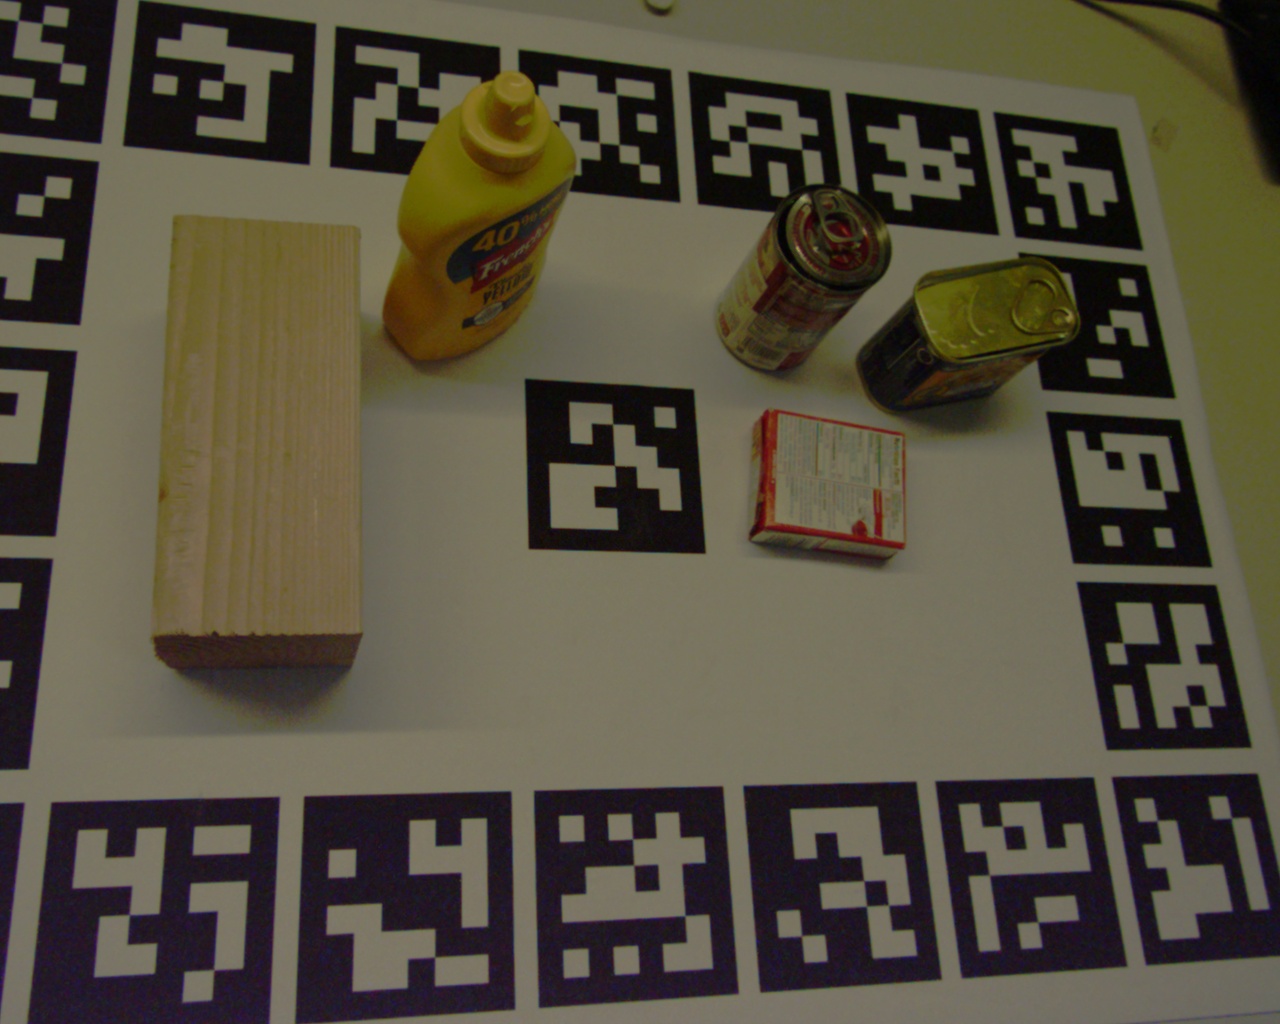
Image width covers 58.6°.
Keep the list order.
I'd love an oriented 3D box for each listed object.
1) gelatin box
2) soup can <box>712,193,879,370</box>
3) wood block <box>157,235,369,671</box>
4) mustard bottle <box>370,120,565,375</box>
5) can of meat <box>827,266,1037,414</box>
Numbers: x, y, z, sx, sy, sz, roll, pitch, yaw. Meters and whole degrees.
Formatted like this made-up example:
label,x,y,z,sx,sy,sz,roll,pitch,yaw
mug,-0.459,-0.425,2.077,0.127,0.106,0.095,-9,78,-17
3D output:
label,x,y,z,sx,sy,sz,roll,pitch,yaw
gelatin box,0.106,-0.011,0.689,0.089,0.030,0.073,11,72,-9
soup can,0.089,-0.134,0.682,0.067,0.102,0.068,4,73,-14
wood block,-0.189,-0.029,0.591,0.090,0.090,0.207,3,67,-16
mustard bottle,-0.089,-0.141,0.604,0.095,0.192,0.058,-25,80,-23
can of meat,0.180,-0.105,0.716,0.101,0.084,0.058,-13,77,-21
